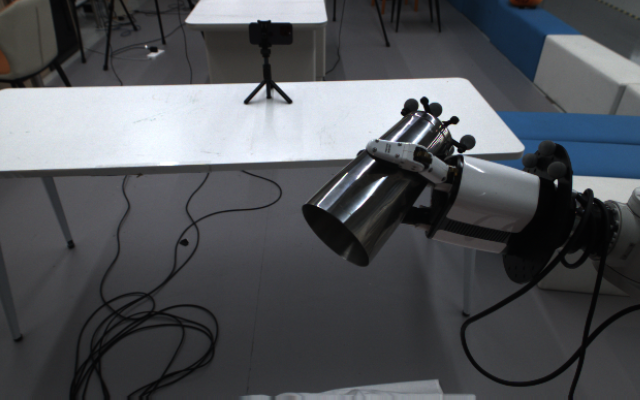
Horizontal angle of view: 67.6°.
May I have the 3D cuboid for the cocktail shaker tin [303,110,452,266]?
[{"bbox_3d":[0.071,-0.024,0.531,0.093,0.093,0.170,32,66,35],"label":"cocktail shaker tin"}]
